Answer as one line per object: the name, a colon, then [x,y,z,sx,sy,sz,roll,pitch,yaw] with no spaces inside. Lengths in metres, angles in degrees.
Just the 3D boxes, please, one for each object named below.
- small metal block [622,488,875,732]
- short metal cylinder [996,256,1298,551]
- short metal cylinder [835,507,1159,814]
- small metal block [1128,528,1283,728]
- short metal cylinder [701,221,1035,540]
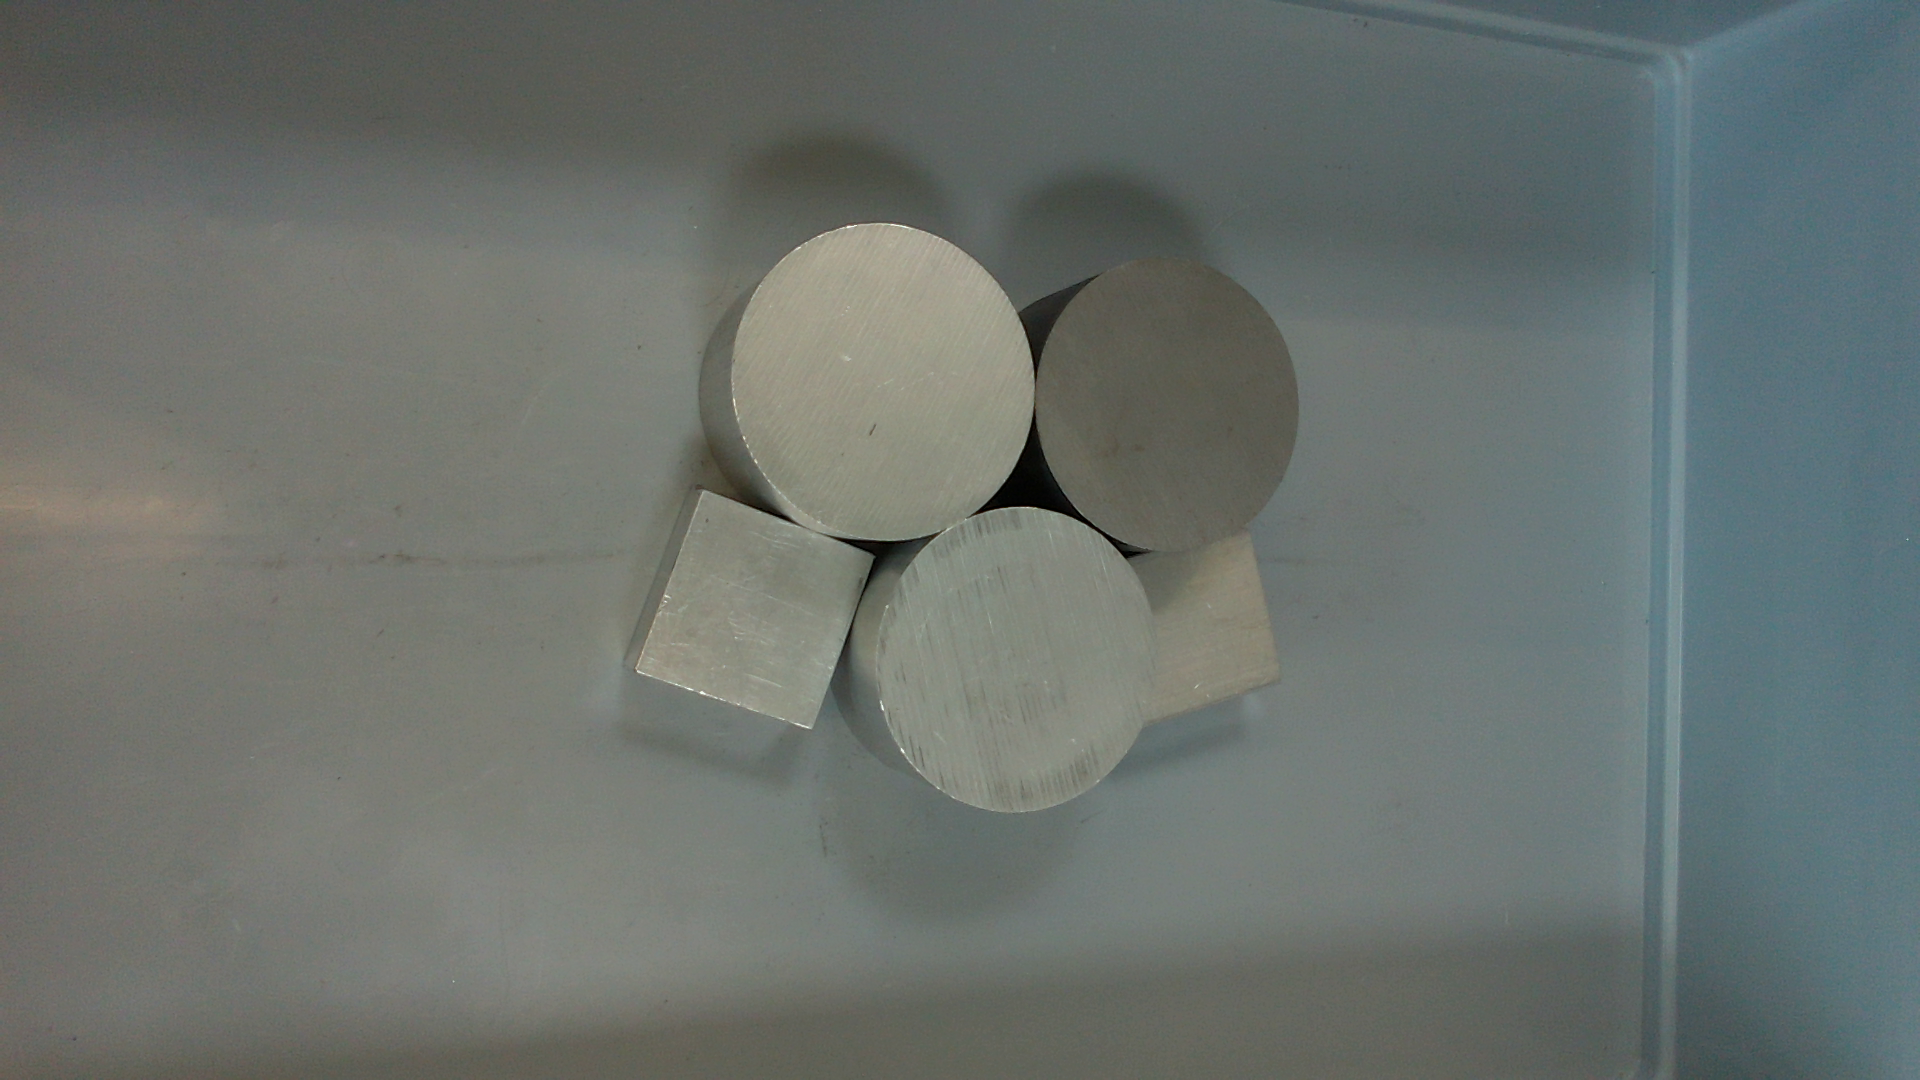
small metal block: [-0.057,0.019,0.372,0.050,0.025,0.050,22,83,-19]
short metal cylinder: [0.049,-0.037,0.397,0.080,0.050,0.080,0,90,-20]
short metal cylinder: [0.008,0.031,0.382,0.080,0.050,0.080,0,90,-20]
small metal block: [0.065,0.025,0.416,0.050,0.025,0.050,-15,95,-19]
short metal cylinder: [-0.026,-0.040,0.369,0.080,0.050,0.080,0,90,-20]
